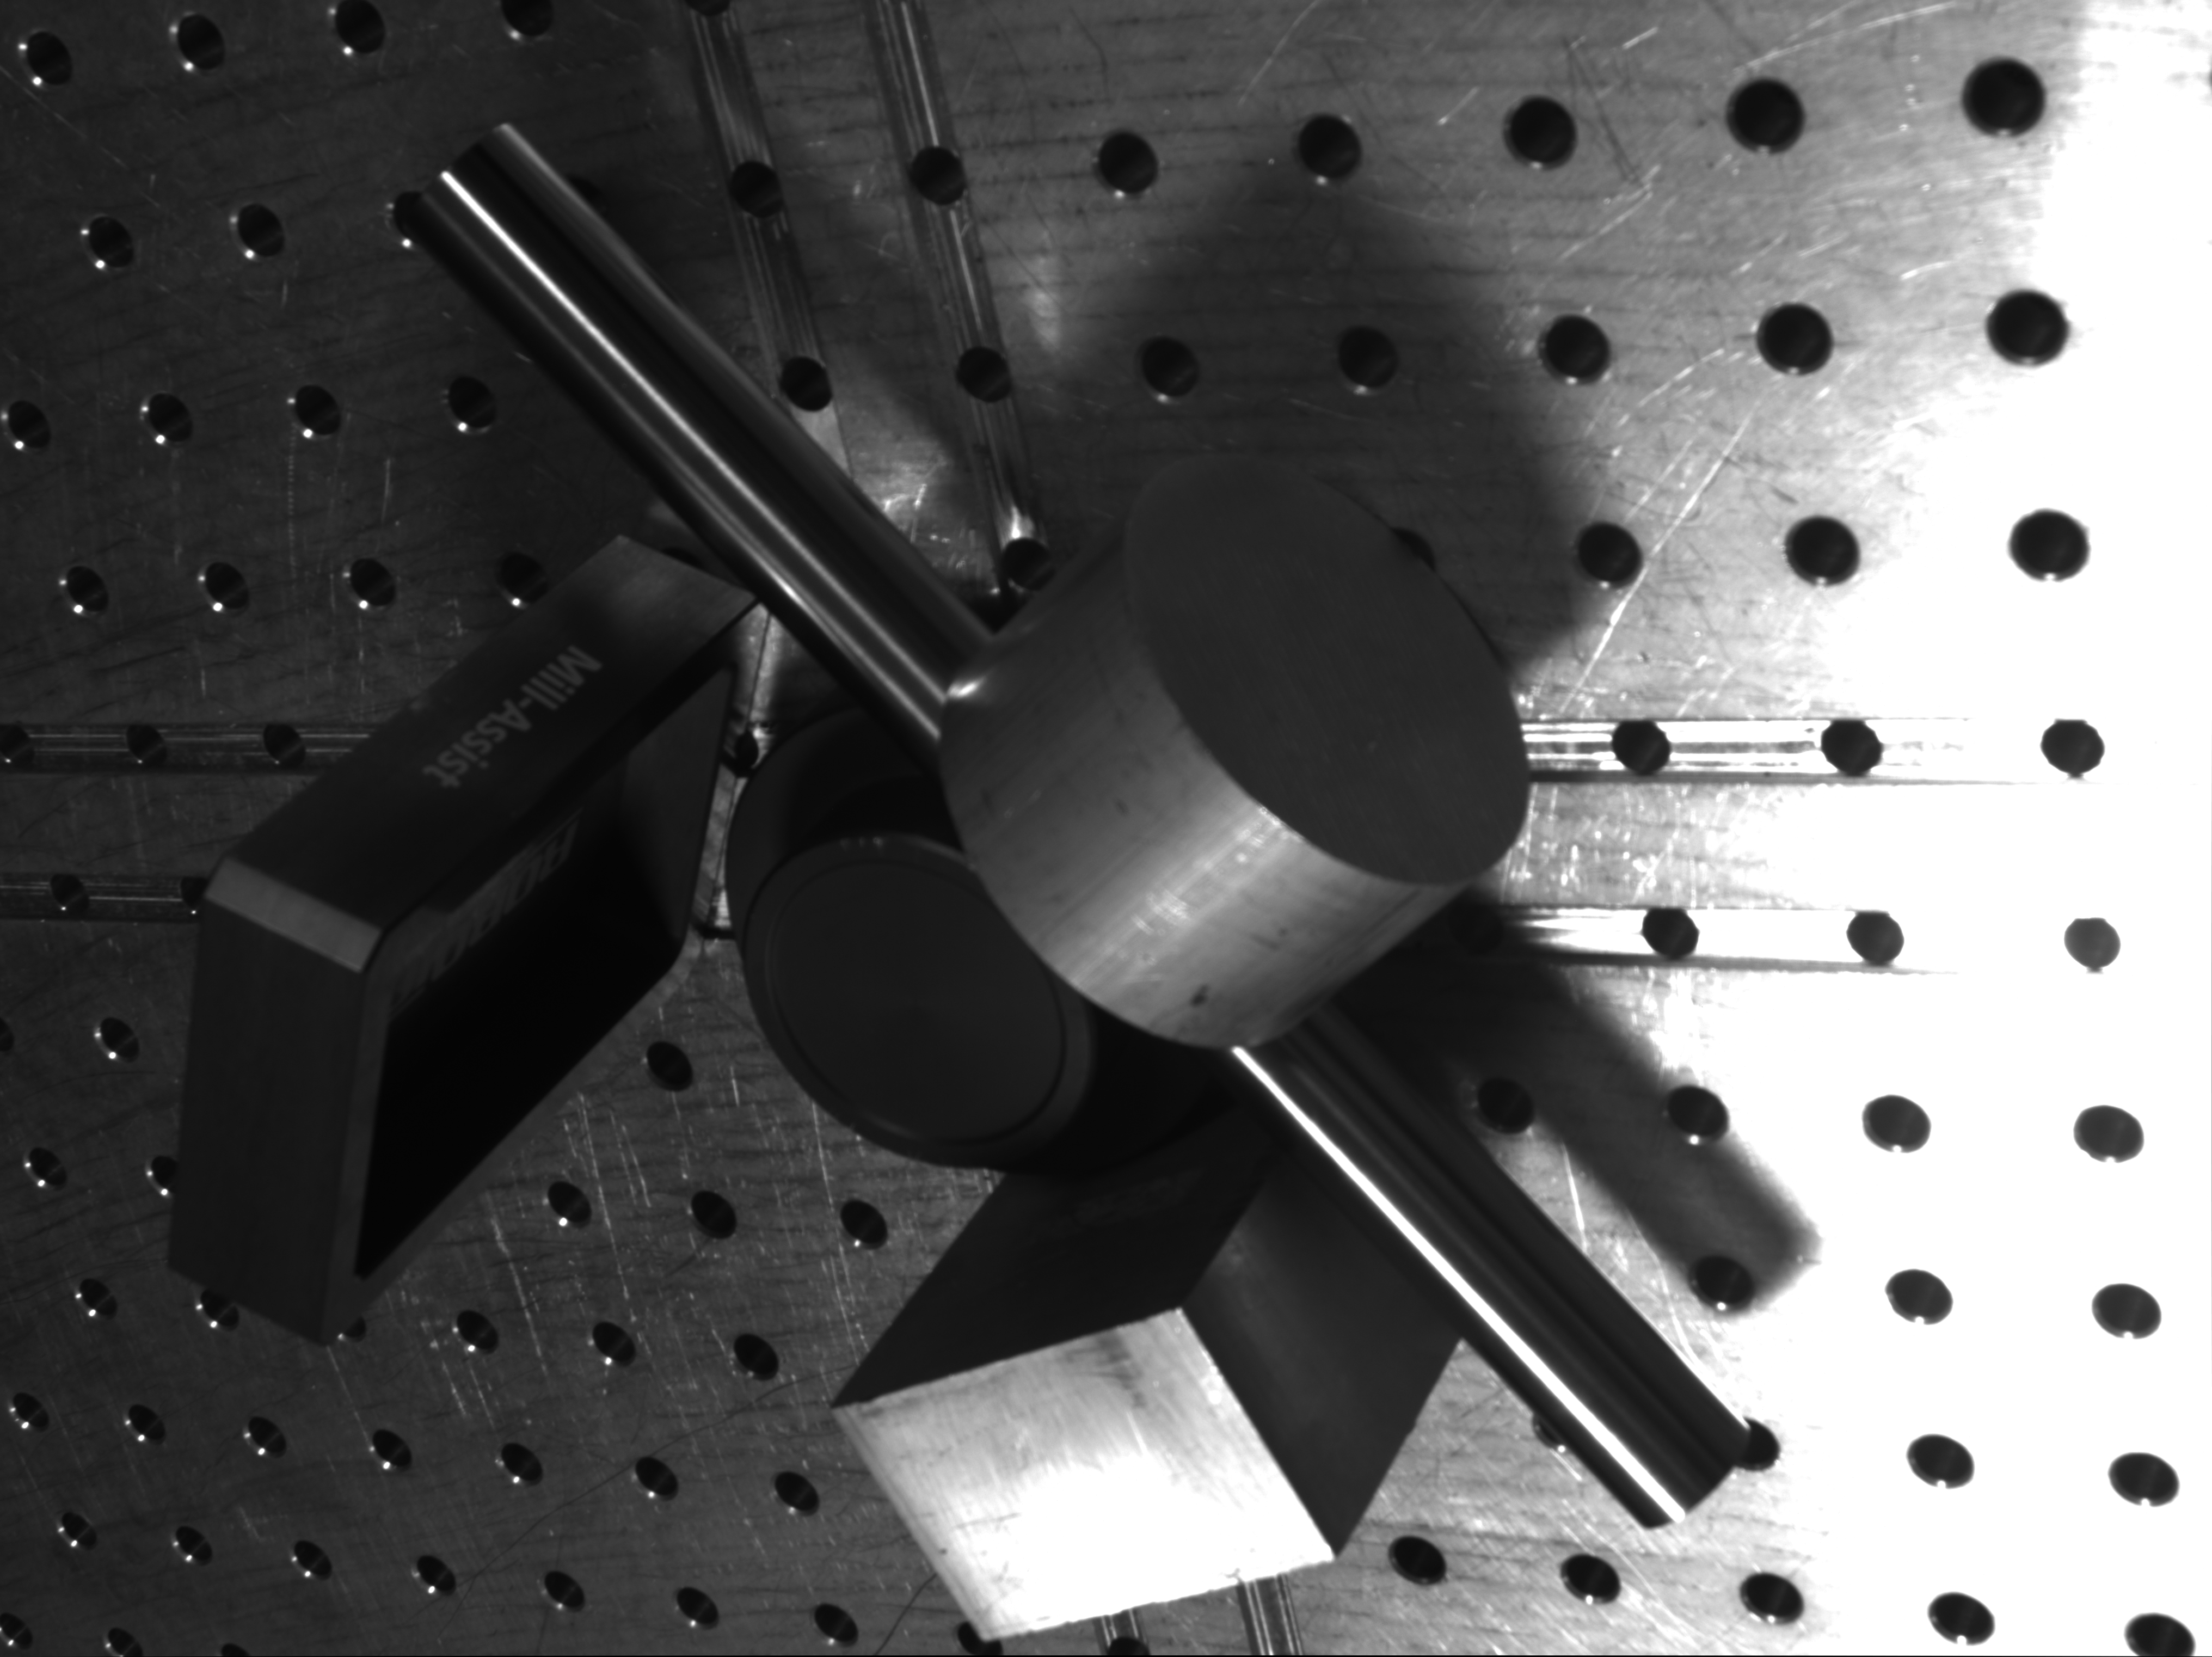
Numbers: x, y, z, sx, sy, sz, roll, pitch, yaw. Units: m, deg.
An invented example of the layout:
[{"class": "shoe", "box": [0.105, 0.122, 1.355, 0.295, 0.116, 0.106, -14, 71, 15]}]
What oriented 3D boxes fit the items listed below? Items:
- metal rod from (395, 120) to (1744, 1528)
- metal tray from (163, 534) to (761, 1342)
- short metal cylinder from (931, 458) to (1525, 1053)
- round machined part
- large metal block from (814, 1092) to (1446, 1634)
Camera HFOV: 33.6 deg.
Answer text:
[{"class": "metal rod", "box": [-0.004, 0.002, 0.610, 0.300, 0.025, 0.025, 46, 128, -5]}, {"class": "metal tray", "box": [-0.109, 0.016, 0.632, 0.030, 0.130, 0.090, 24, 126, 12]}, {"class": "short metal cylinder", "box": [0.020, -0.012, 0.581, 0.080, 0.080, 0.050, 45, 128, -4]}, {"class": "round machined part", "box": [-0.026, 0.021, 0.649, 0.098, 0.042, 0.098, 12, 123, 20]}, {"class": "large metal block", "box": [0.009, 0.091, 0.649, 0.080, 0.080, 0.050, -21, 108, 34]}]
